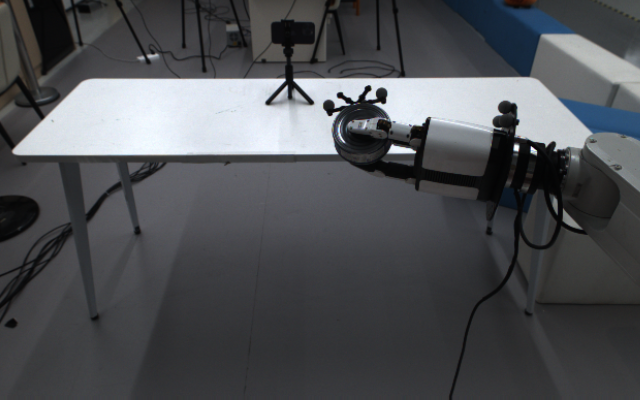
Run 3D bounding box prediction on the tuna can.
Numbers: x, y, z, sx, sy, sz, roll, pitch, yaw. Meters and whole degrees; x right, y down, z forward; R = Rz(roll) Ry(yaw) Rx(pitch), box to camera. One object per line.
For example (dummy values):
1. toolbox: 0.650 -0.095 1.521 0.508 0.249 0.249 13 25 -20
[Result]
1. tuna can: 0.064 -0.091 0.691 0.085 0.034 0.085 -4 68 9
